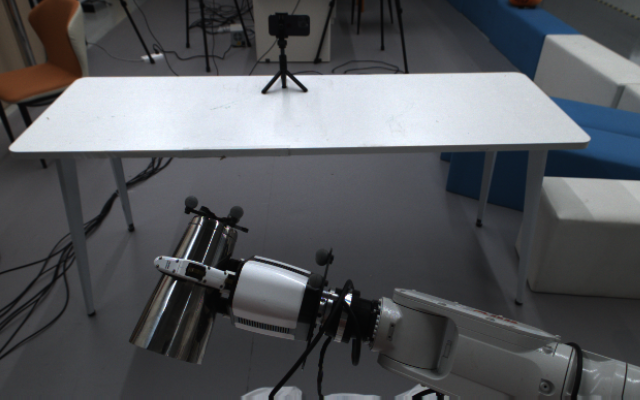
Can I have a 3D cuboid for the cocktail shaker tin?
[{"bbox_3d":[-0.166,0.111,0.618,0.093,0.093,0.170,13,70,15],"label":"cocktail shaker tin"}]
